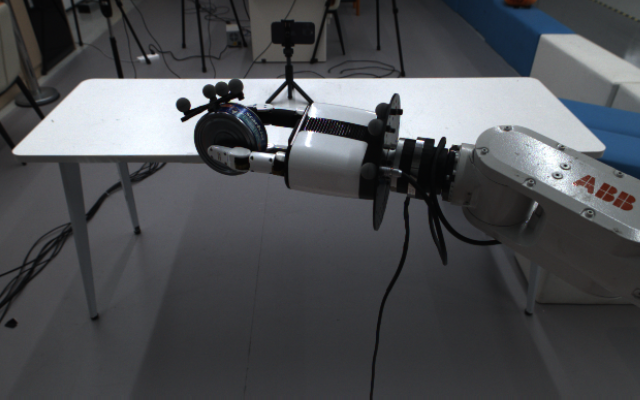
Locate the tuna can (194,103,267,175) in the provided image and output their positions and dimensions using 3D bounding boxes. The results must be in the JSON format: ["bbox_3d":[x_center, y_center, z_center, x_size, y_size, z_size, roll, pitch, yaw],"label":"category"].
[{"bbox_3d":[-0.107,-0.068,0.593,0.085,0.085,0.034,11,34,13],"label":"tuna can"}]
